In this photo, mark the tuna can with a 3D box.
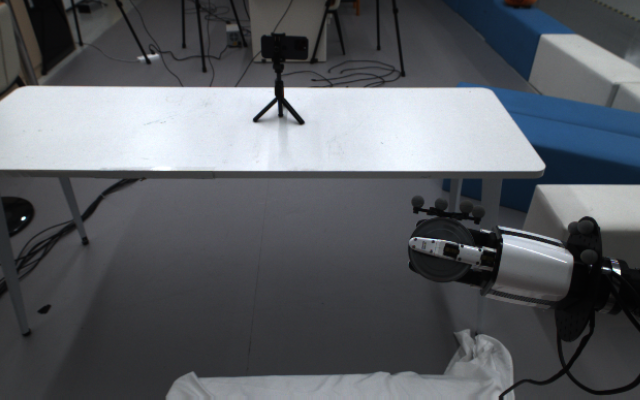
[{"bbox_3d":[0.162,0.061,0.643,0.085,0.085,0.034,10,-6,12],"label":"tuna can"}]
